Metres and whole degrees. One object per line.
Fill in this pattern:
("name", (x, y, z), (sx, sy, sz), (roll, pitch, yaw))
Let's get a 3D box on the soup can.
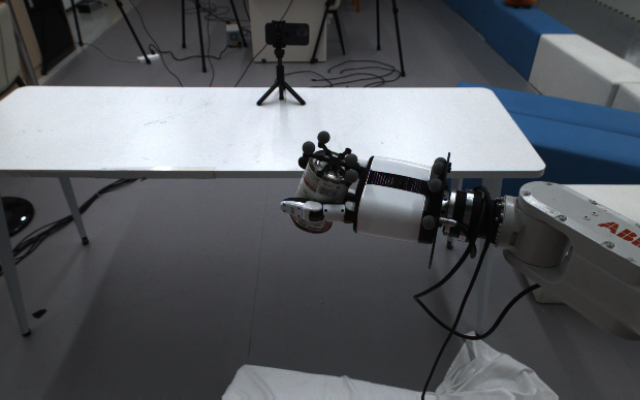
("soup can", (0.003, -0.011, 0.684), (0.067, 0.101, 0.067), (14, 40, -12))
